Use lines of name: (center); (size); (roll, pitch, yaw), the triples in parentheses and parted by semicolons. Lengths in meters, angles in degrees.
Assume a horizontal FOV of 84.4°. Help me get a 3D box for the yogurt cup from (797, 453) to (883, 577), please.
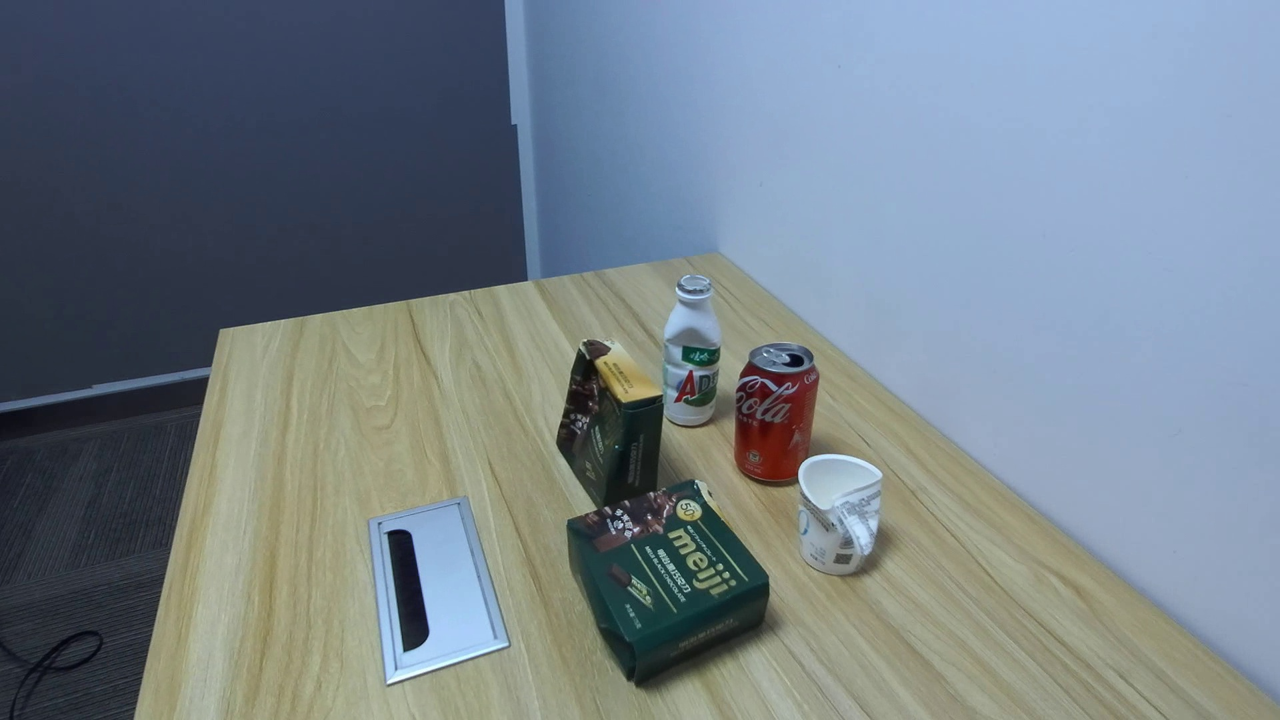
yogurt cup: (0.149, 0.119, 0.540); (0.067, 0.070, 0.067); (-1, 32, 1)

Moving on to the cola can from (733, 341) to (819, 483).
cola can: (0.118, 0.047, 0.613); (0.072, 0.117, 0.065); (-16, 36, -27)

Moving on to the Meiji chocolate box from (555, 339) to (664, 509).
Meiji chocolate box: (-0.024, 0.054, 0.603); (0.052, 0.117, 0.117); (-7, 31, -27)

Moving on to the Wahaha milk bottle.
Wahaha milk bottle: (0.049, -0.008, 0.667); (0.056, 0.148, 0.056); (1, 35, -1)

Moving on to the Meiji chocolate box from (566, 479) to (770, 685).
Meiji chocolate box: (0.018, 0.153, 0.501); (0.123, 0.058, 0.115); (-15, 38, -22)
